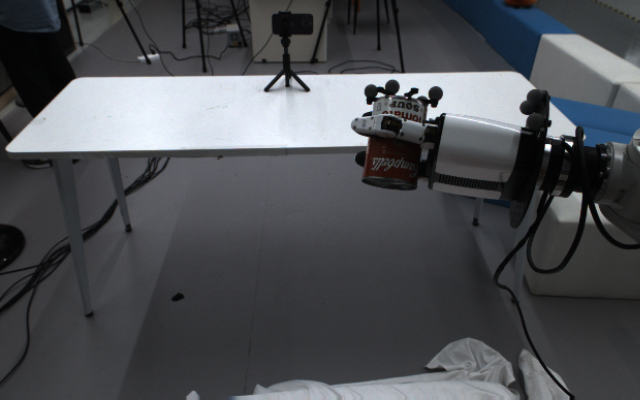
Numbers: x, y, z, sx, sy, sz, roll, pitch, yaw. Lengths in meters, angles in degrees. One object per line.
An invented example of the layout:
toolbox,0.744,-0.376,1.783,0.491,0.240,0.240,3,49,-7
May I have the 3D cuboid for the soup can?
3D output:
soup can,0.093,-0.068,0.589,0.067,0.101,0.067,9,-6,1
